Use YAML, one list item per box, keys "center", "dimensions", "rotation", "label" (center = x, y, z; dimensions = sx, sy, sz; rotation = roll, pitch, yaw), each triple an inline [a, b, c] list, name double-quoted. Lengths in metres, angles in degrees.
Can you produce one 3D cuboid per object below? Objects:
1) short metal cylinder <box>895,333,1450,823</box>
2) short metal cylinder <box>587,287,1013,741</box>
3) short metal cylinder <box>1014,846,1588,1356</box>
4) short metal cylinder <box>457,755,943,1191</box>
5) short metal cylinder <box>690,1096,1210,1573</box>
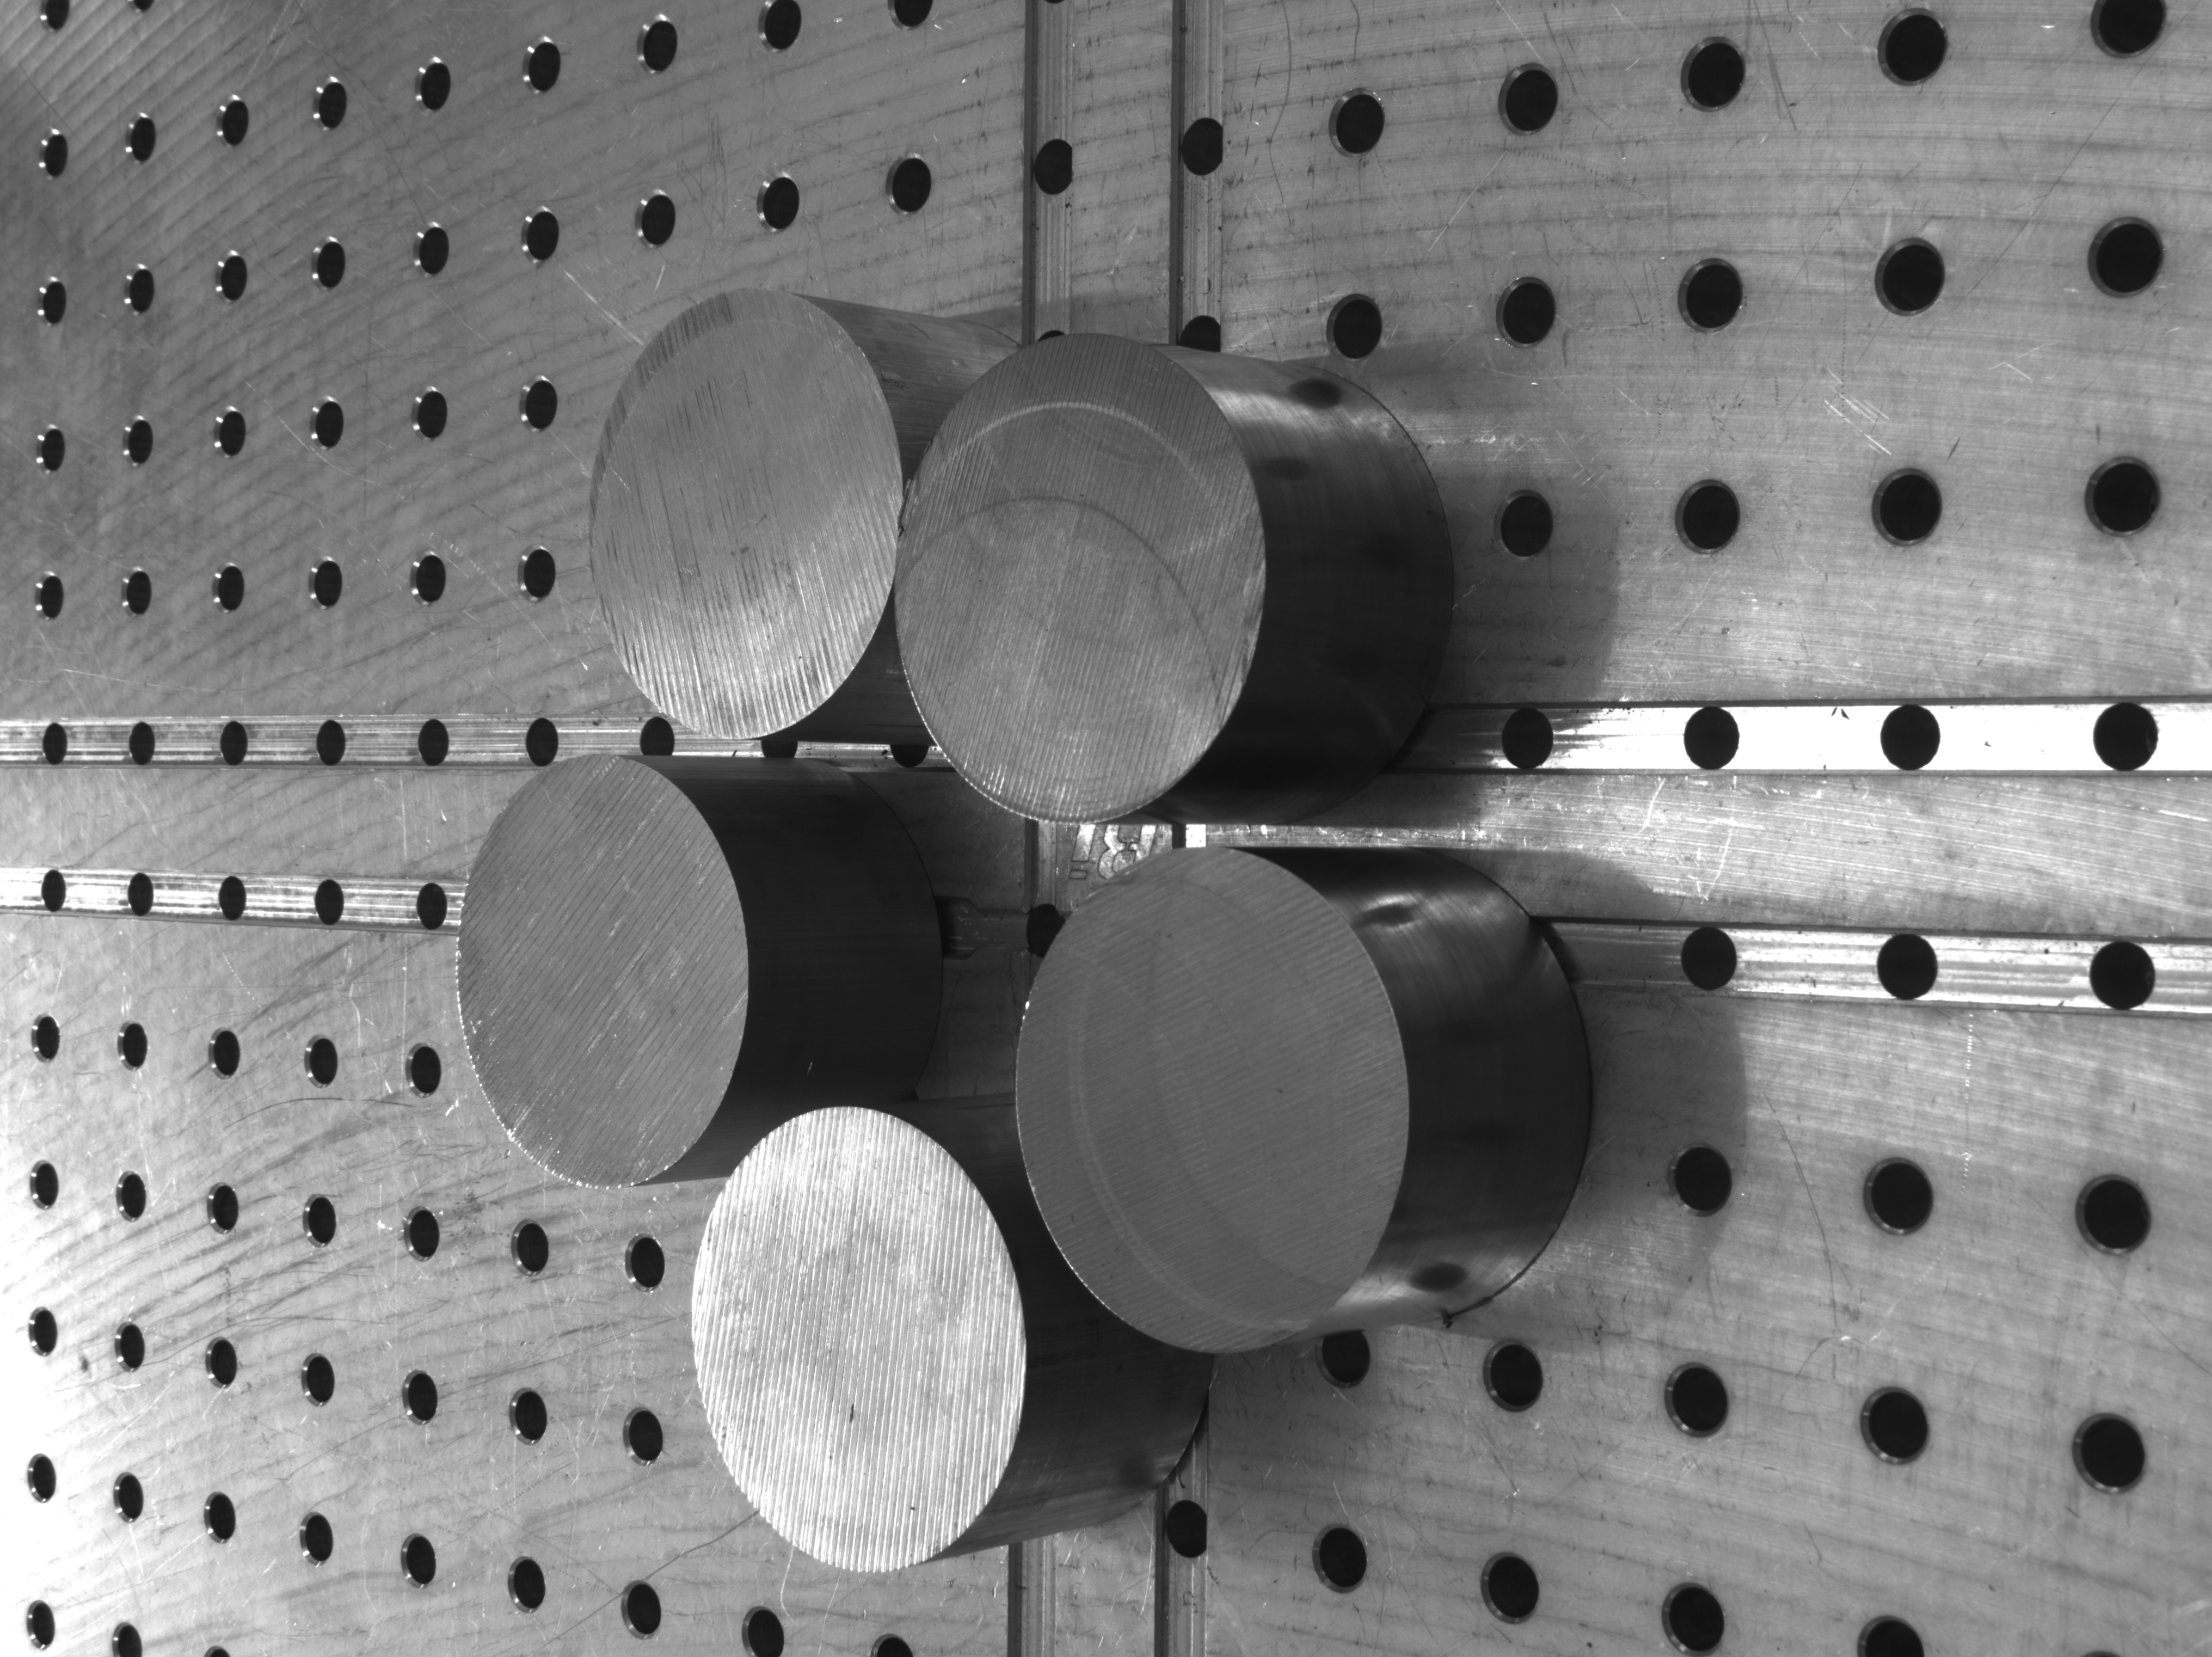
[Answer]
- center: [0.011, -0.041, 0.621]
  dimensions: [0.080, 0.050, 0.080]
  rotation: [0, 90, 40]
  label: "short metal cylinder"
- center: [-0.049, -0.056, 0.673]
  dimensions: [0.080, 0.050, 0.080]
  rotation: [0, 90, 40]
  label: "short metal cylinder"
- center: [0.031, 0.043, 0.604]
  dimensions: [0.080, 0.050, 0.080]
  rotation: [1, 92, 40]
  label: "short metal cylinder"
- center: [-0.077, 0.026, 0.697]
  dimensions: [0.080, 0.050, 0.080]
  rotation: [0, 90, 40]
  label: "short metal cylinder"
- center: [-0.028, 0.088, 0.654]
  dimensions: [0.080, 0.050, 0.080]
  rotation: [-1, 89, 41]
  label: "short metal cylinder"
